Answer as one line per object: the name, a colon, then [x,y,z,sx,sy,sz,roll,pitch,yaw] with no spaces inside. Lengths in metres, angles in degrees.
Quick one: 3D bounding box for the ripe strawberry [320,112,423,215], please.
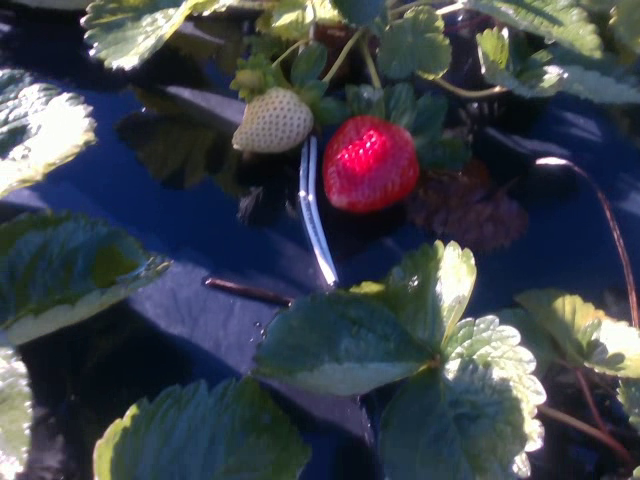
ripe strawberry: [0.028,-0.039,0.302,0.040,0.063,0.080,-30,13,43]
